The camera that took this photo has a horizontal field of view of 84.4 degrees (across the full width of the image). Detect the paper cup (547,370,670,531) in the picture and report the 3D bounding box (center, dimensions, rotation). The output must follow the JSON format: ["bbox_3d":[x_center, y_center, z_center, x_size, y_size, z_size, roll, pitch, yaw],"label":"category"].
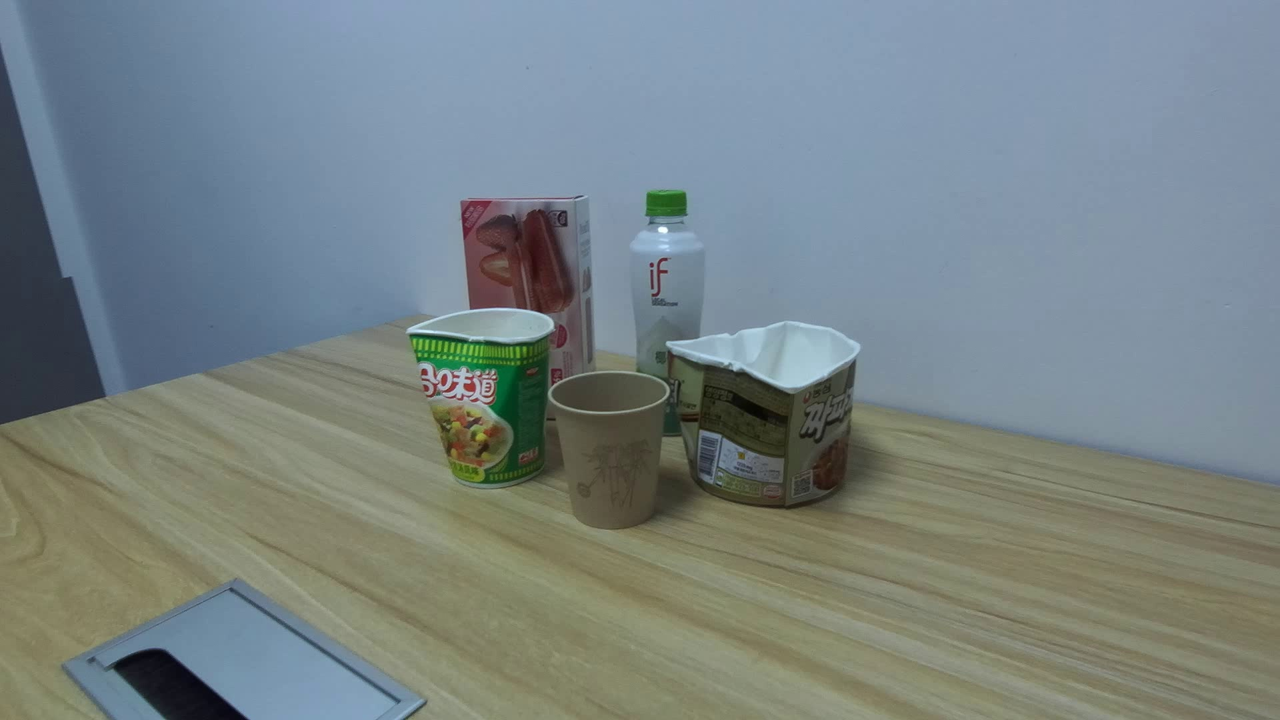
[{"bbox_3d":[-0.018,0.058,0.448,0.075,0.082,0.075,-1,19,1],"label":"paper cup"}]

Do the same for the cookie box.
[{"bbox_3d":[-0.090,-0.043,0.598,0.096,0.184,0.048,1,16,10],"label":"cookie box"}]

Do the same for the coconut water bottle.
[{"bbox_3d":[0.023,-0.036,0.560,0.063,0.188,0.063,-1,15,0],"label":"coconut water bottle"}]

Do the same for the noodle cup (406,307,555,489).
[{"bbox_3d":[-0.101,0.026,0.506,0.093,0.109,0.087,16,26,42],"label":"noodle cup"}]
